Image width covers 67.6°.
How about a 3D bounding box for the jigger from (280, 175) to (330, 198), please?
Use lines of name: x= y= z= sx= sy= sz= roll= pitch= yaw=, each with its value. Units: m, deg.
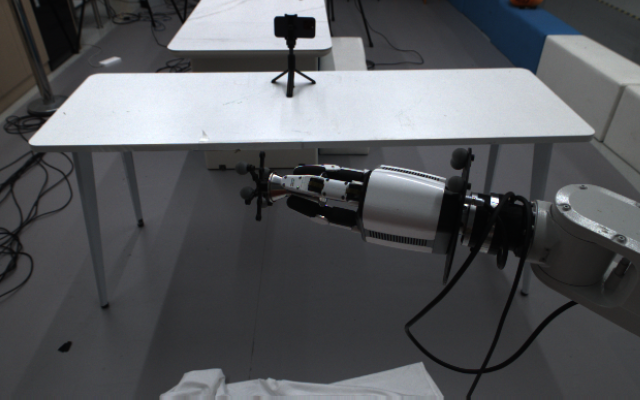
jigger: x=-0.020 y=-0.019 z=0.609 sx=0.071 sy=0.043 sz=0.043 roll=2 pitch=34 yaw=16
